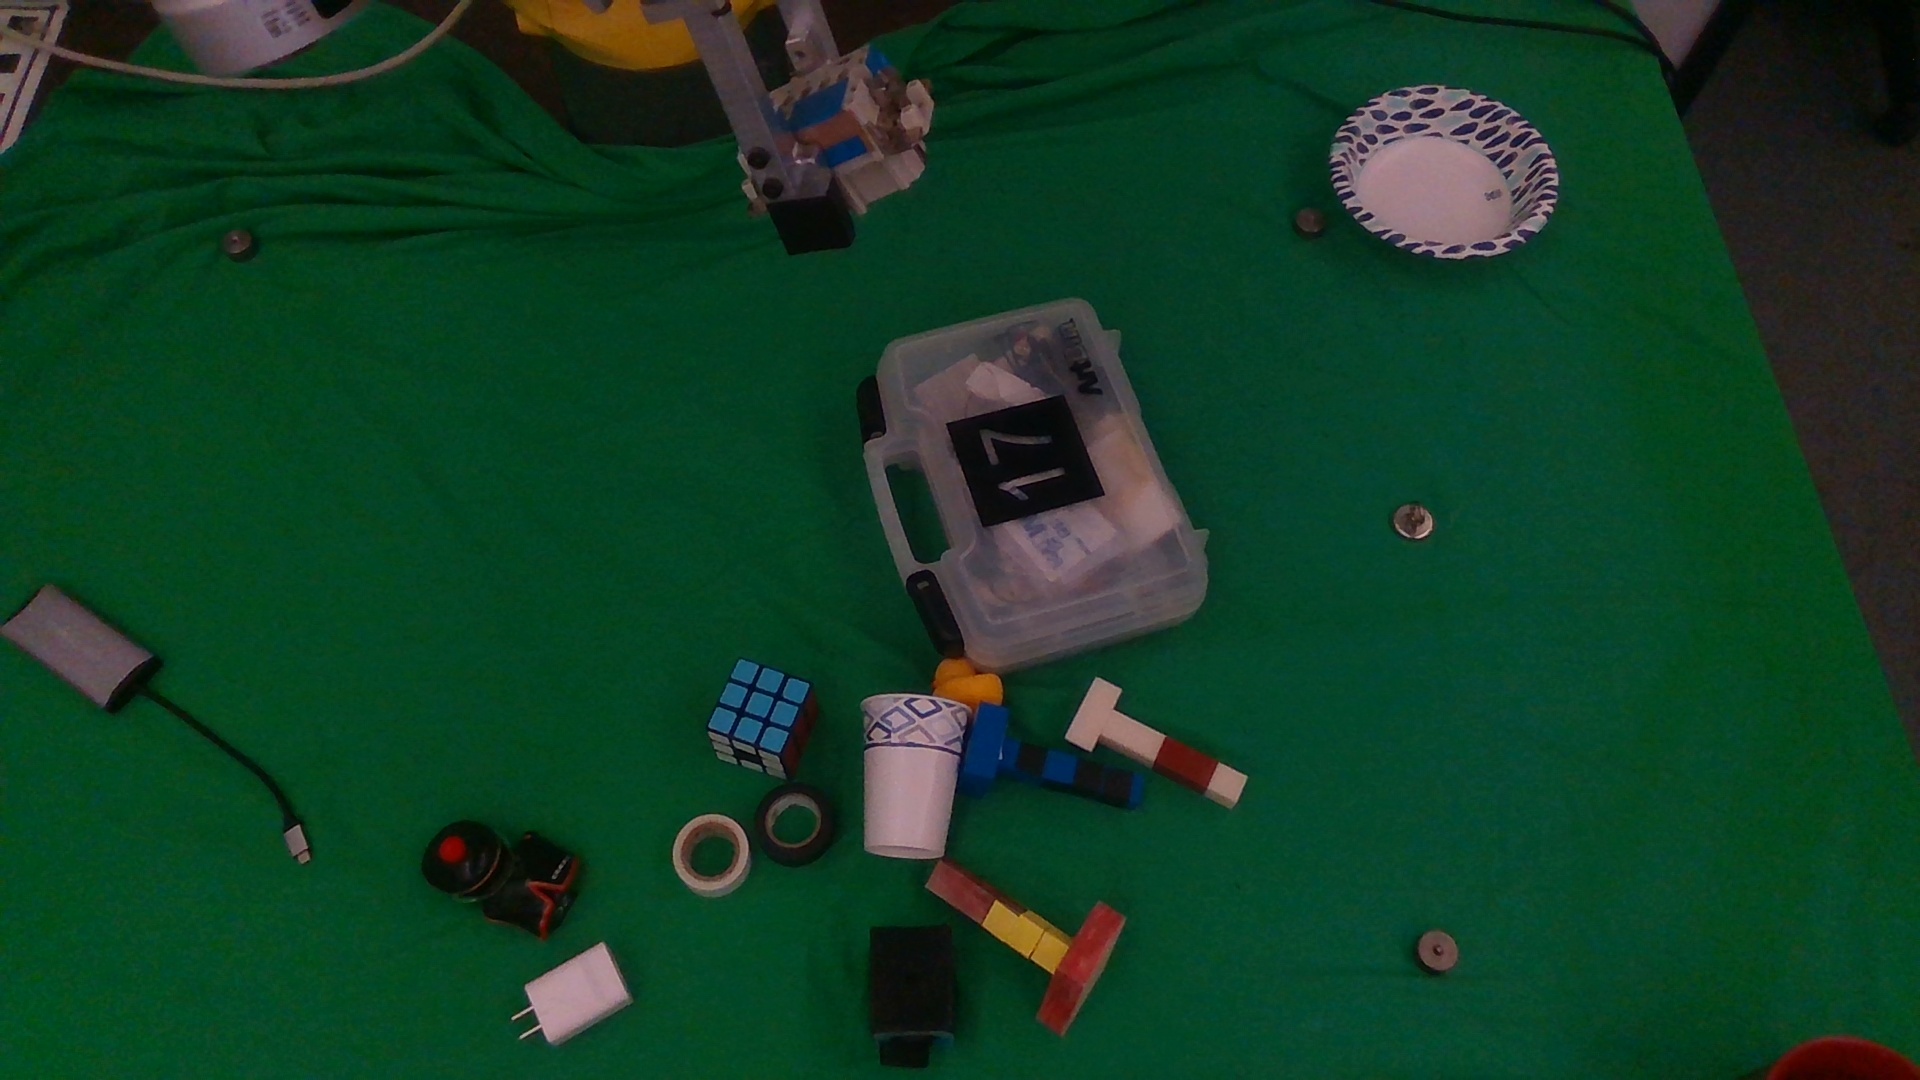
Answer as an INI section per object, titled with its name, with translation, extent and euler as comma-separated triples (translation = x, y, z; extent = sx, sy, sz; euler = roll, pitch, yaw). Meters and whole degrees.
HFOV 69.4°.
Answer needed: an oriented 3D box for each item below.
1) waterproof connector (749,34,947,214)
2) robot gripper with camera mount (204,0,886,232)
[waterproof connector]
translation = -0.035, -0.124, 0.424
extent = 0.065, 0.037, 0.035
euler = -17, 42, 25
[robot gripper with camera mount]
translation = -0.127, -0.153, 0.408
extent = 0.194, 0.158, 0.119
euler = -8, 41, 19
